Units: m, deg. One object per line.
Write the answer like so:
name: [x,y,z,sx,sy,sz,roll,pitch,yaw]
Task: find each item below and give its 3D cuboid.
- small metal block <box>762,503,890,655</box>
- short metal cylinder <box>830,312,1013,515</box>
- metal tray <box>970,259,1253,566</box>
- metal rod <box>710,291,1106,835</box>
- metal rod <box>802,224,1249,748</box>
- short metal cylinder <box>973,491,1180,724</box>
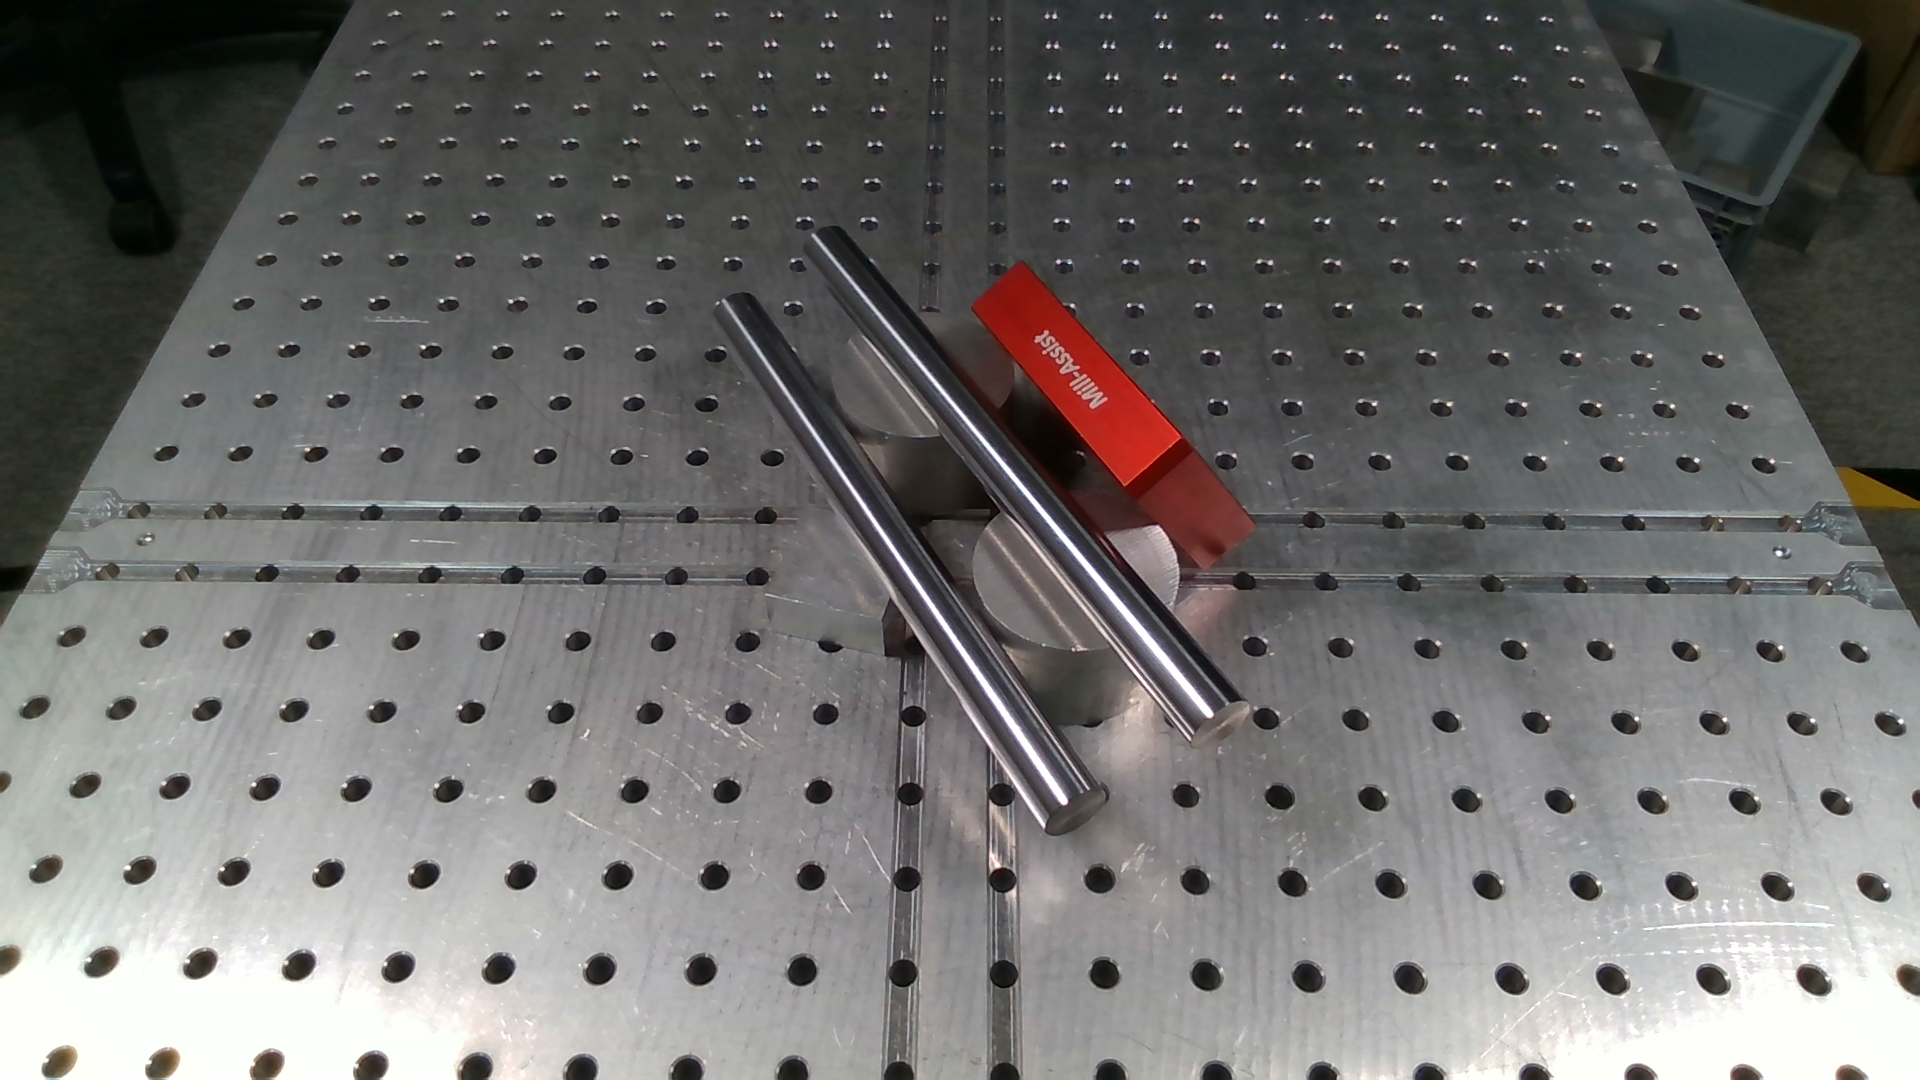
small metal block: [-0.049,0.016,0.576,0.050,0.025,0.050,11,51,9]
short metal cylinder: [-0.017,-0.058,0.622,0.080,0.050,0.080,0,50,0]
metal tray: [0.065,-0.055,0.591,0.030,0.090,0.130,-41,56,8]
metal rod: [-0.033,-0.006,0.561,0.025,0.025,0.299,-23,54,-18]
metal rod: [0.013,-0.036,0.554,0.025,0.025,0.299,-24,54,-19]
short metal cylinder: [0.045,0.026,0.552,0.080,0.050,0.080,0,50,0]
